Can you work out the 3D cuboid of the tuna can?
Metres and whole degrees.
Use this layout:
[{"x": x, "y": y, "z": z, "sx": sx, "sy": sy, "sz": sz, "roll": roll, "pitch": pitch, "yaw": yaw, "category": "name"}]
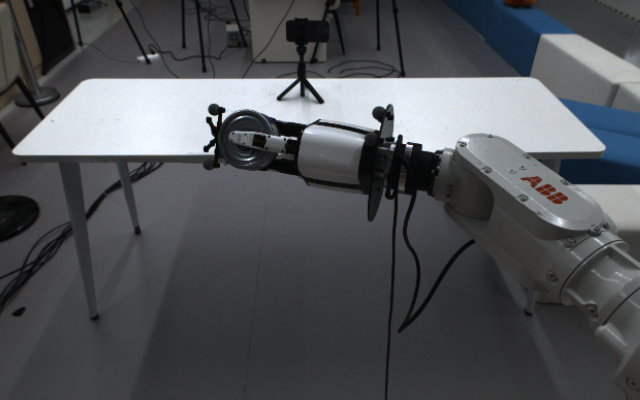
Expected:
[{"x": -0.100, "y": -0.086, "z": 0.693, "sx": 0.085, "sy": 0.085, "sz": 0.034, "roll": 10, "pitch": 3, "yaw": 11, "category": "tuna can"}]
